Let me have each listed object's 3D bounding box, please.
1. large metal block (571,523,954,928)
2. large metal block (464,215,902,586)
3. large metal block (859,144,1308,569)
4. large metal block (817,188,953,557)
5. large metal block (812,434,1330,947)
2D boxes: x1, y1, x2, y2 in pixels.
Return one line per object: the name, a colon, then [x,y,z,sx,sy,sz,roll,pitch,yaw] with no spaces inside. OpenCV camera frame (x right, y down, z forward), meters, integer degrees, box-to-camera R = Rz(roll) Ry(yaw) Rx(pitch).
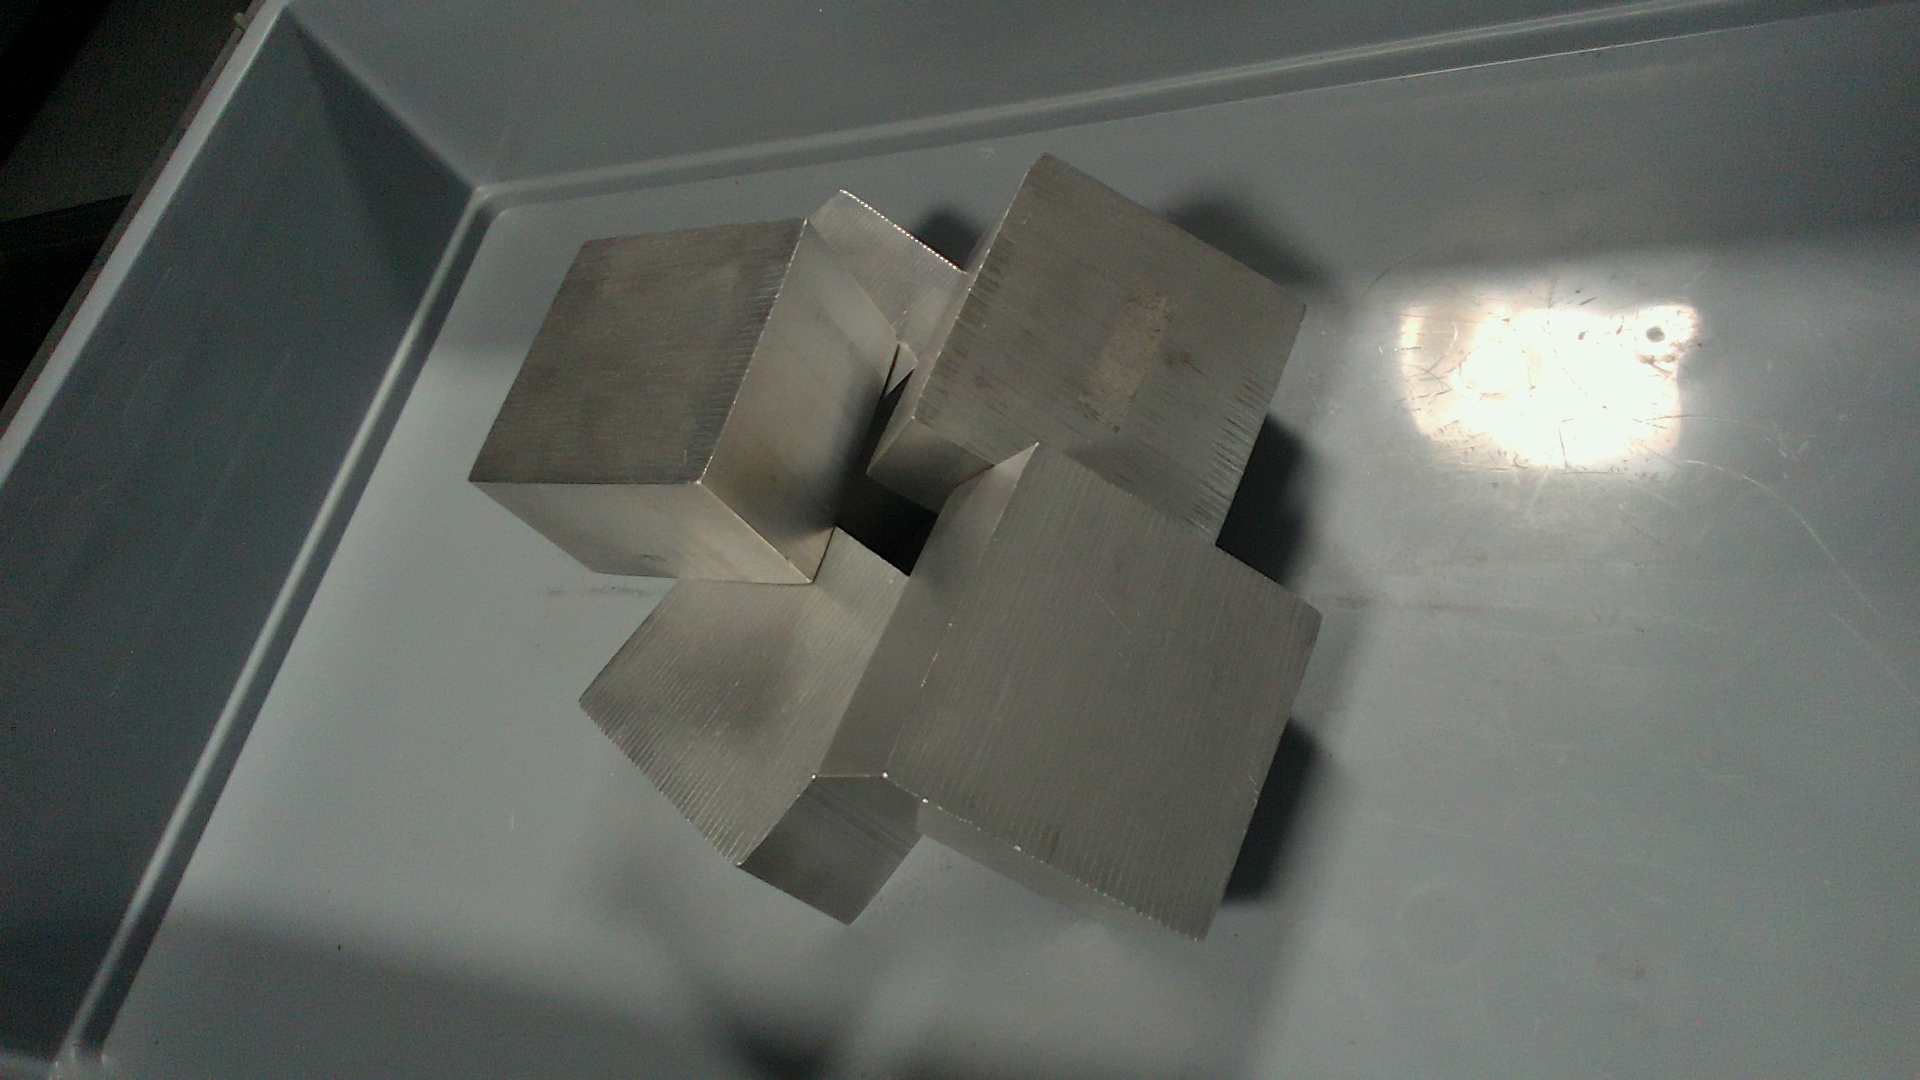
large metal block: [-0.043,0.042,0.370,0.080,0.050,0.080,34,81,38]
large metal block: [-0.072,-0.036,0.371,0.080,0.050,0.080,2,61,31]
large metal block: [0.031,-0.039,0.356,0.080,0.050,0.080,28,71,-9]
large metal block: [-0.032,-0.050,0.425,0.080,0.050,0.080,-46,51,-3]
large metal block: [0.025,0.035,0.313,0.080,0.080,0.050,-65,15,-18]
